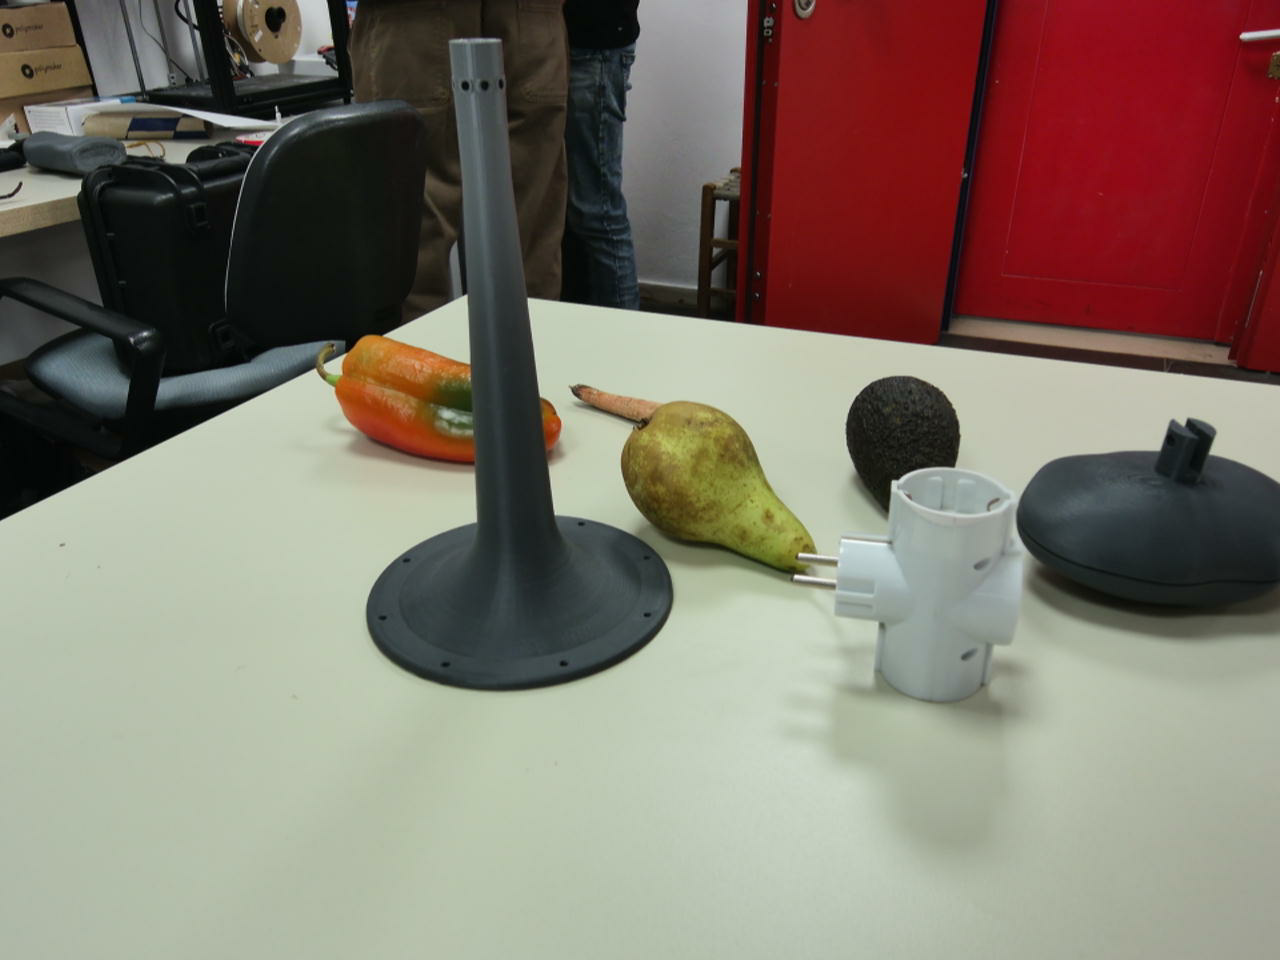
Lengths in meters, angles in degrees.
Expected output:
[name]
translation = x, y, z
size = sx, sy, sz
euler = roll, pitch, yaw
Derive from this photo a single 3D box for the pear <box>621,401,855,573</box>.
[pear]
translation = 0.057, 0.002, 0.526
size = 0.144, 0.075, 0.071
euler = 14, 29, 29
